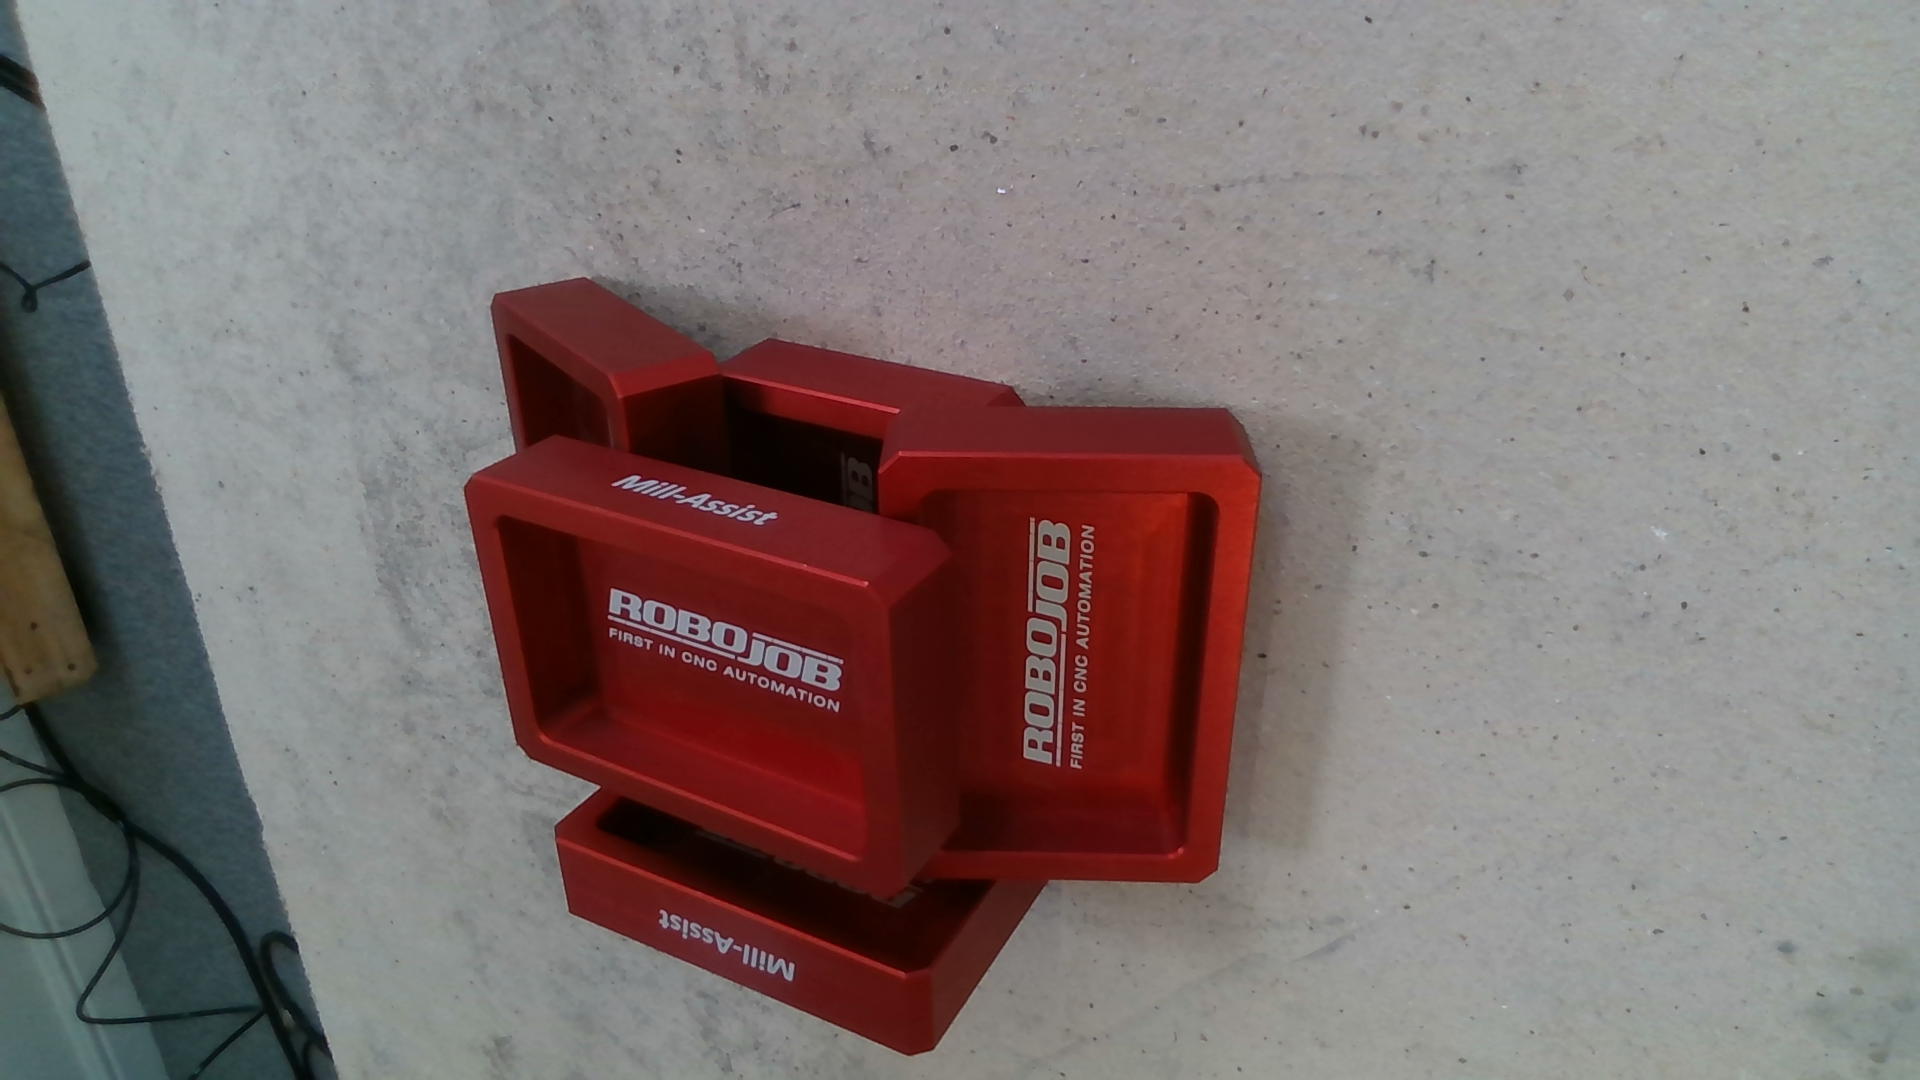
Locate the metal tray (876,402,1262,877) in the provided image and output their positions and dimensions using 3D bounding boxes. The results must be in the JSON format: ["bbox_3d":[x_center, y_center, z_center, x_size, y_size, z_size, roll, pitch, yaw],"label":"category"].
[{"bbox_3d":[0.026,0.029,0.363,0.090,0.030,0.130,0,119,2],"label":"metal tray"}]

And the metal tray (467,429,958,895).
[{"bbox_3d":[-0.064,0.029,0.357,0.130,0.030,0.090,15,122,27],"label":"metal tray"}]

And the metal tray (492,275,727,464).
[{"bbox_3d":[-0.104,-0.006,0.424,0.090,0.030,0.130,32,132,45],"label":"metal tray"}]

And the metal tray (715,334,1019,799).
[{"bbox_3d":[-0.028,0.012,0.407,0.090,0.030,0.130,15,122,26],"label":"metal tray"}]

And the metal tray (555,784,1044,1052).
[{"bbox_3d":[-0.046,0.095,0.427,0.130,0.090,0.030,14,121,26],"label":"metal tray"}]
